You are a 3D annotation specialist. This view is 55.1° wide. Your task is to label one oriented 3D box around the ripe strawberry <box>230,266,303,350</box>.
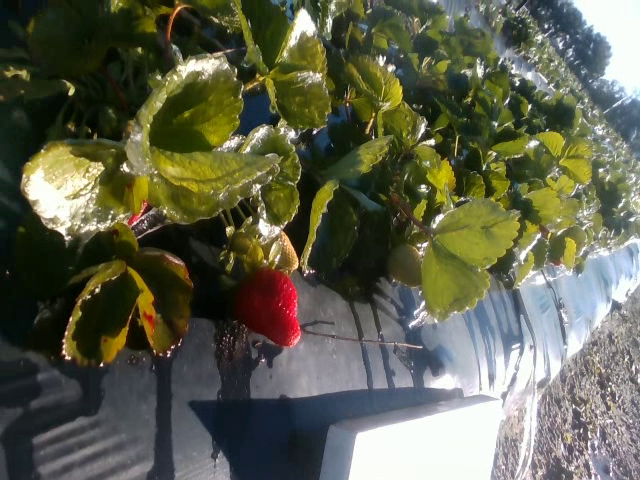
[{"bbox_3d":[-0.018,0.034,0.262,0.039,0.040,0.039,0,33,-45],"label":"ripe strawberry"}]
